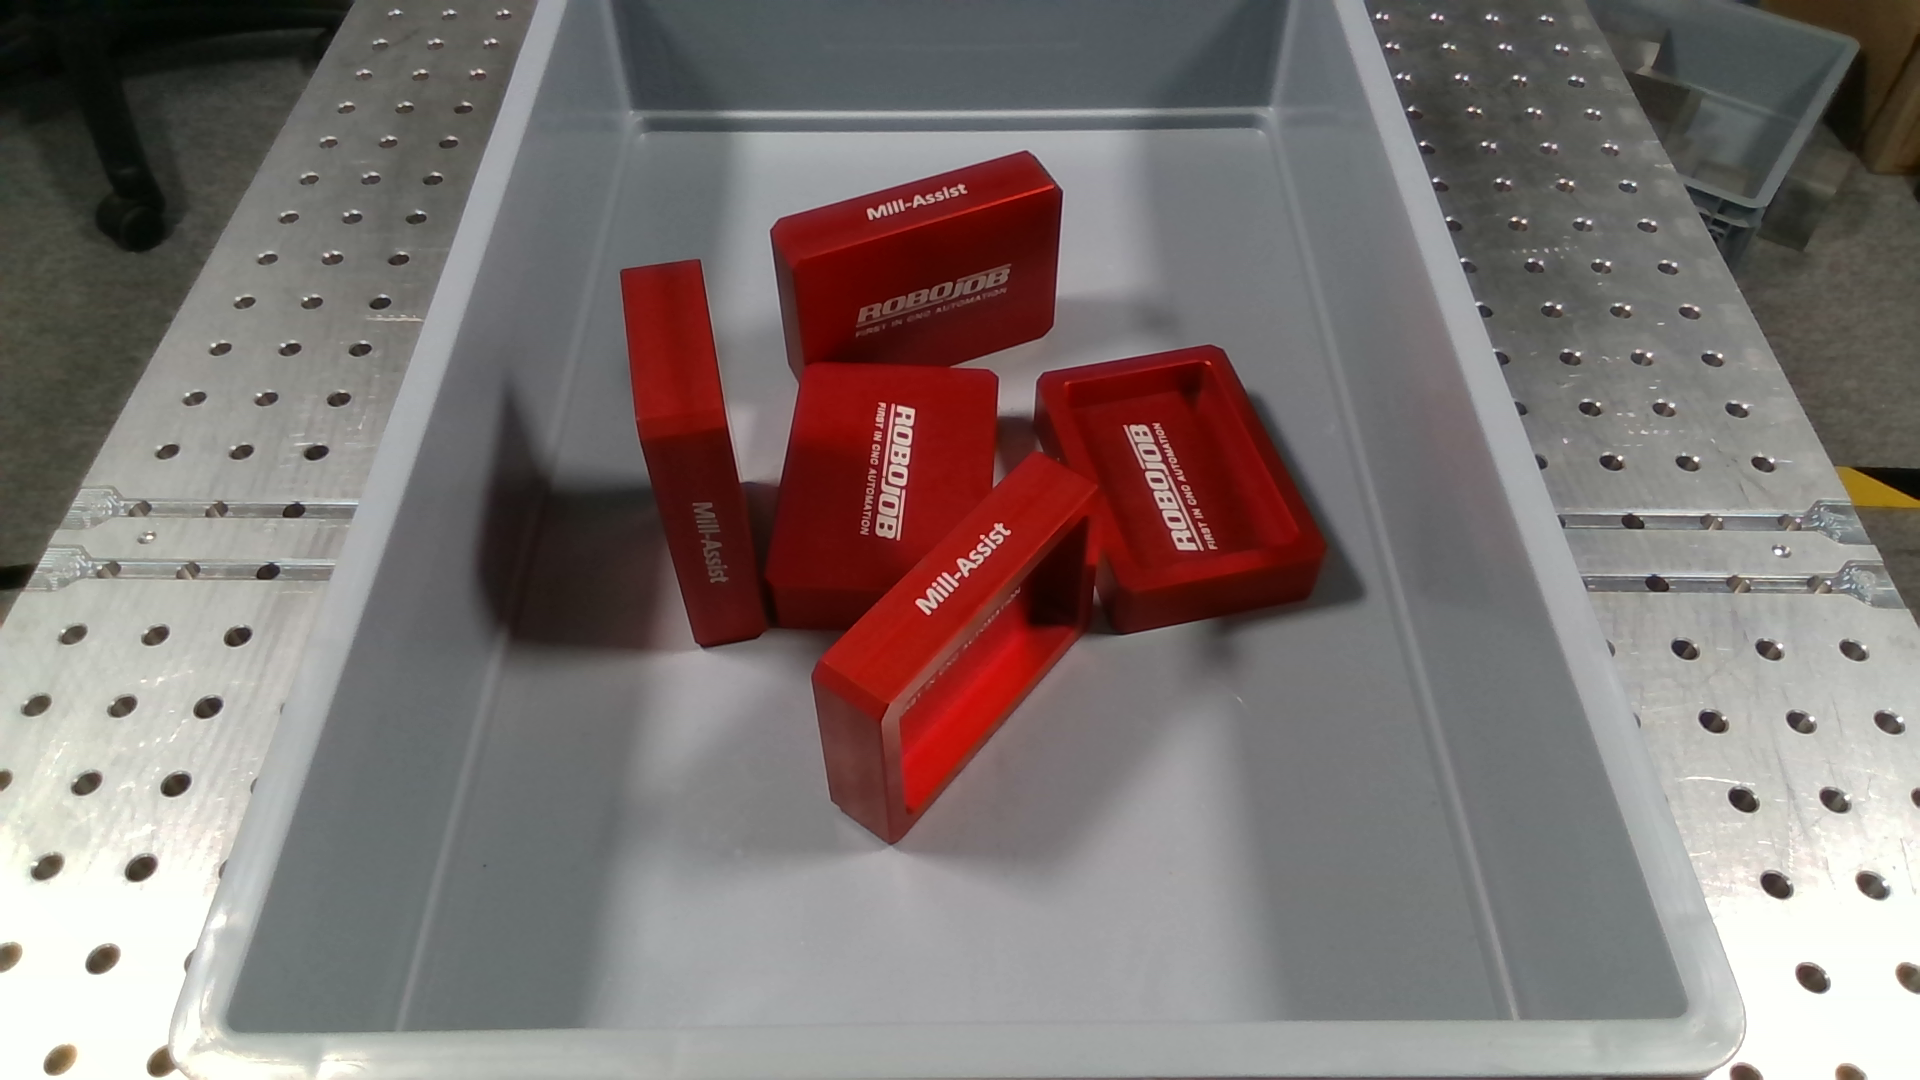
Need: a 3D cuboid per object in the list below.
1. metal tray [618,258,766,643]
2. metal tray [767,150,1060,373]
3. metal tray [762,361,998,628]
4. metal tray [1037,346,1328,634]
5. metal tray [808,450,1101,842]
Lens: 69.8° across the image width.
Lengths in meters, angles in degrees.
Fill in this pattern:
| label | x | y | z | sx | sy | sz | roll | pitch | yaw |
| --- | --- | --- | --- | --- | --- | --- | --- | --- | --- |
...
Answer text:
| label | x | y | z | sx | sy | sz | roll | pitch | yaw |
| --- | --- | --- | --- | --- | --- | --- | --- | --- | --- |
| metal tray | -0.104 | -0.033 | 0.543 | 0.030 | 0.130 | 0.090 | -10 | 51 | -8 |
| metal tray | -0.020 | -0.121 | 0.644 | 0.130 | 0.090 | 0.030 | -19 | 54 | -15 |
| metal tray | -0.031 | -0.021 | 0.598 | 0.090 | 0.030 | 0.130 | 2 | 50 | 2 |
| metal tray | 0.093 | -0.026 | 0.603 | 0.090 | 0.030 | 0.130 | -10 | 51 | -9 |
| metal tray | 0.002 | 0.038 | 0.510 | 0.030 | 0.090 | 0.130 | 30 | 56 | 24 |
